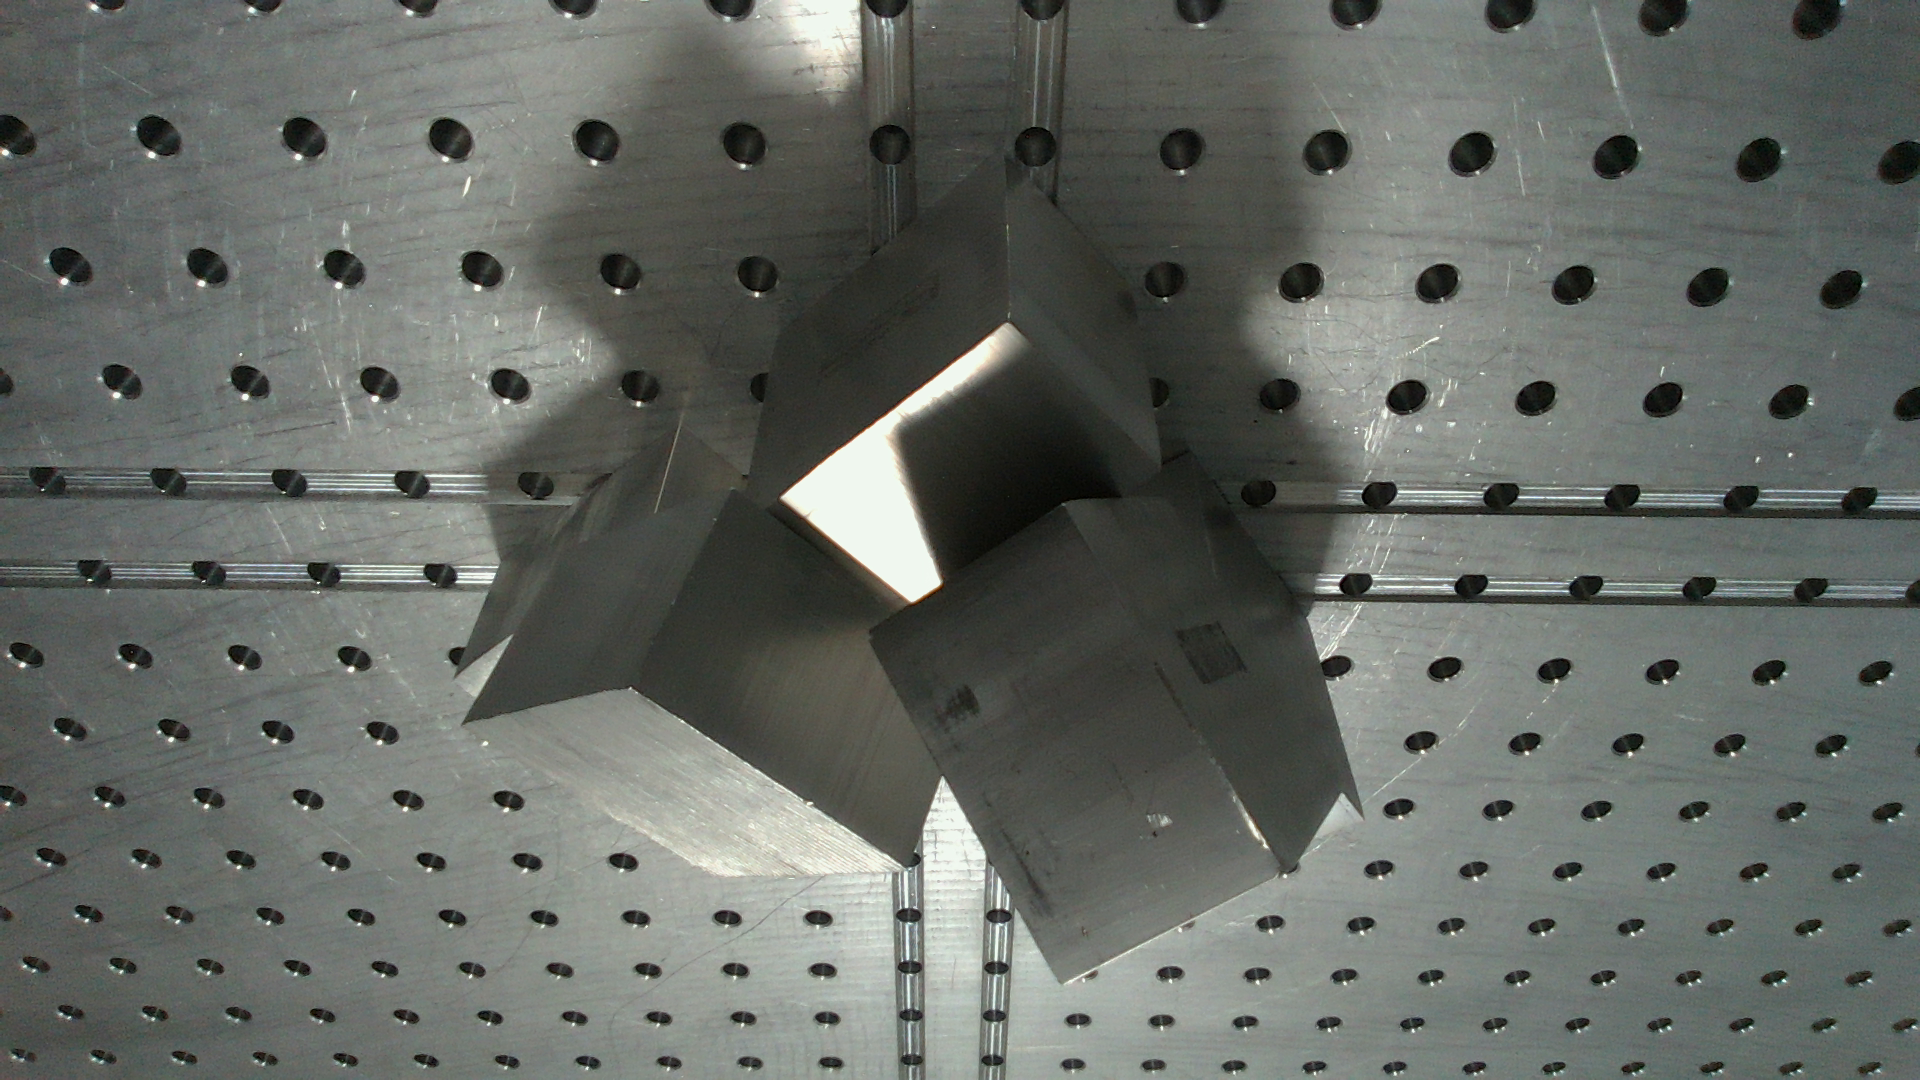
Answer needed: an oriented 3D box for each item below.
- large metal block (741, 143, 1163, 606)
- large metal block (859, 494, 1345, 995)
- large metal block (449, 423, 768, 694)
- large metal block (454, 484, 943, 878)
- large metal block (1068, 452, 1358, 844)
[{"bbox_3d":[-0.003,-0.034,0.327,0.080,0.080,0.050,-34,122,25],"label":"large metal block"},{"bbox_3d":[0.034,0.038,0.297,0.050,0.080,0.080,-34,80,20],"label":"large metal block"},{"bbox_3d":[-0.083,0.027,0.399,0.080,0.050,0.080,-32,123,24],"label":"large metal block"},{"bbox_3d":[-0.056,0.038,0.324,0.080,0.050,0.080,40,145,-29],"label":"large metal block"},{"bbox_3d":[0.064,0.037,0.387,0.050,0.080,0.080,-27,125,21],"label":"large metal block"}]
